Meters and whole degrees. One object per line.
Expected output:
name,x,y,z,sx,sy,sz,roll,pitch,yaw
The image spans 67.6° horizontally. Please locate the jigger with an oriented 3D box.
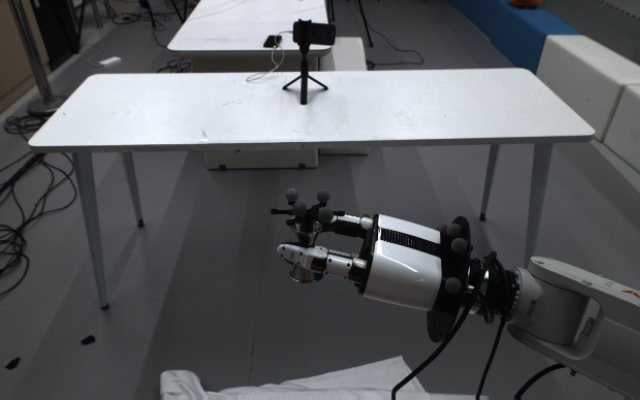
jigger,-0.016,0.062,0.608,0.043,0.071,0.043,1,20,0
